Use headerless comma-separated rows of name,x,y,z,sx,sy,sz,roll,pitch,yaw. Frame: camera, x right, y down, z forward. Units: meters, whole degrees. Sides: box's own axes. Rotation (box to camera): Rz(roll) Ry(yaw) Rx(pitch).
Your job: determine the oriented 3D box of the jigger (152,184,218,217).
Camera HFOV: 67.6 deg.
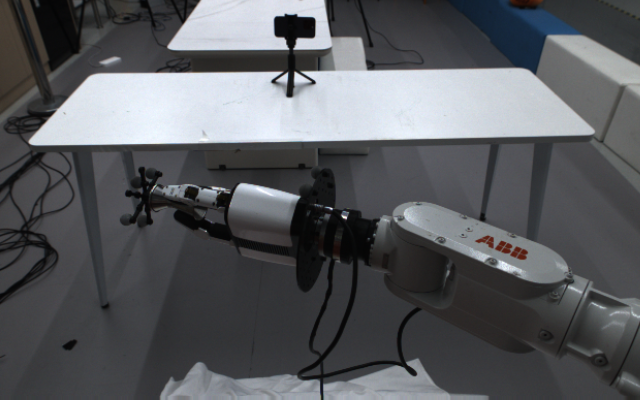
jigger,-0.188,-0.002,0.662,0.071,0.043,0.043,7,35,13
